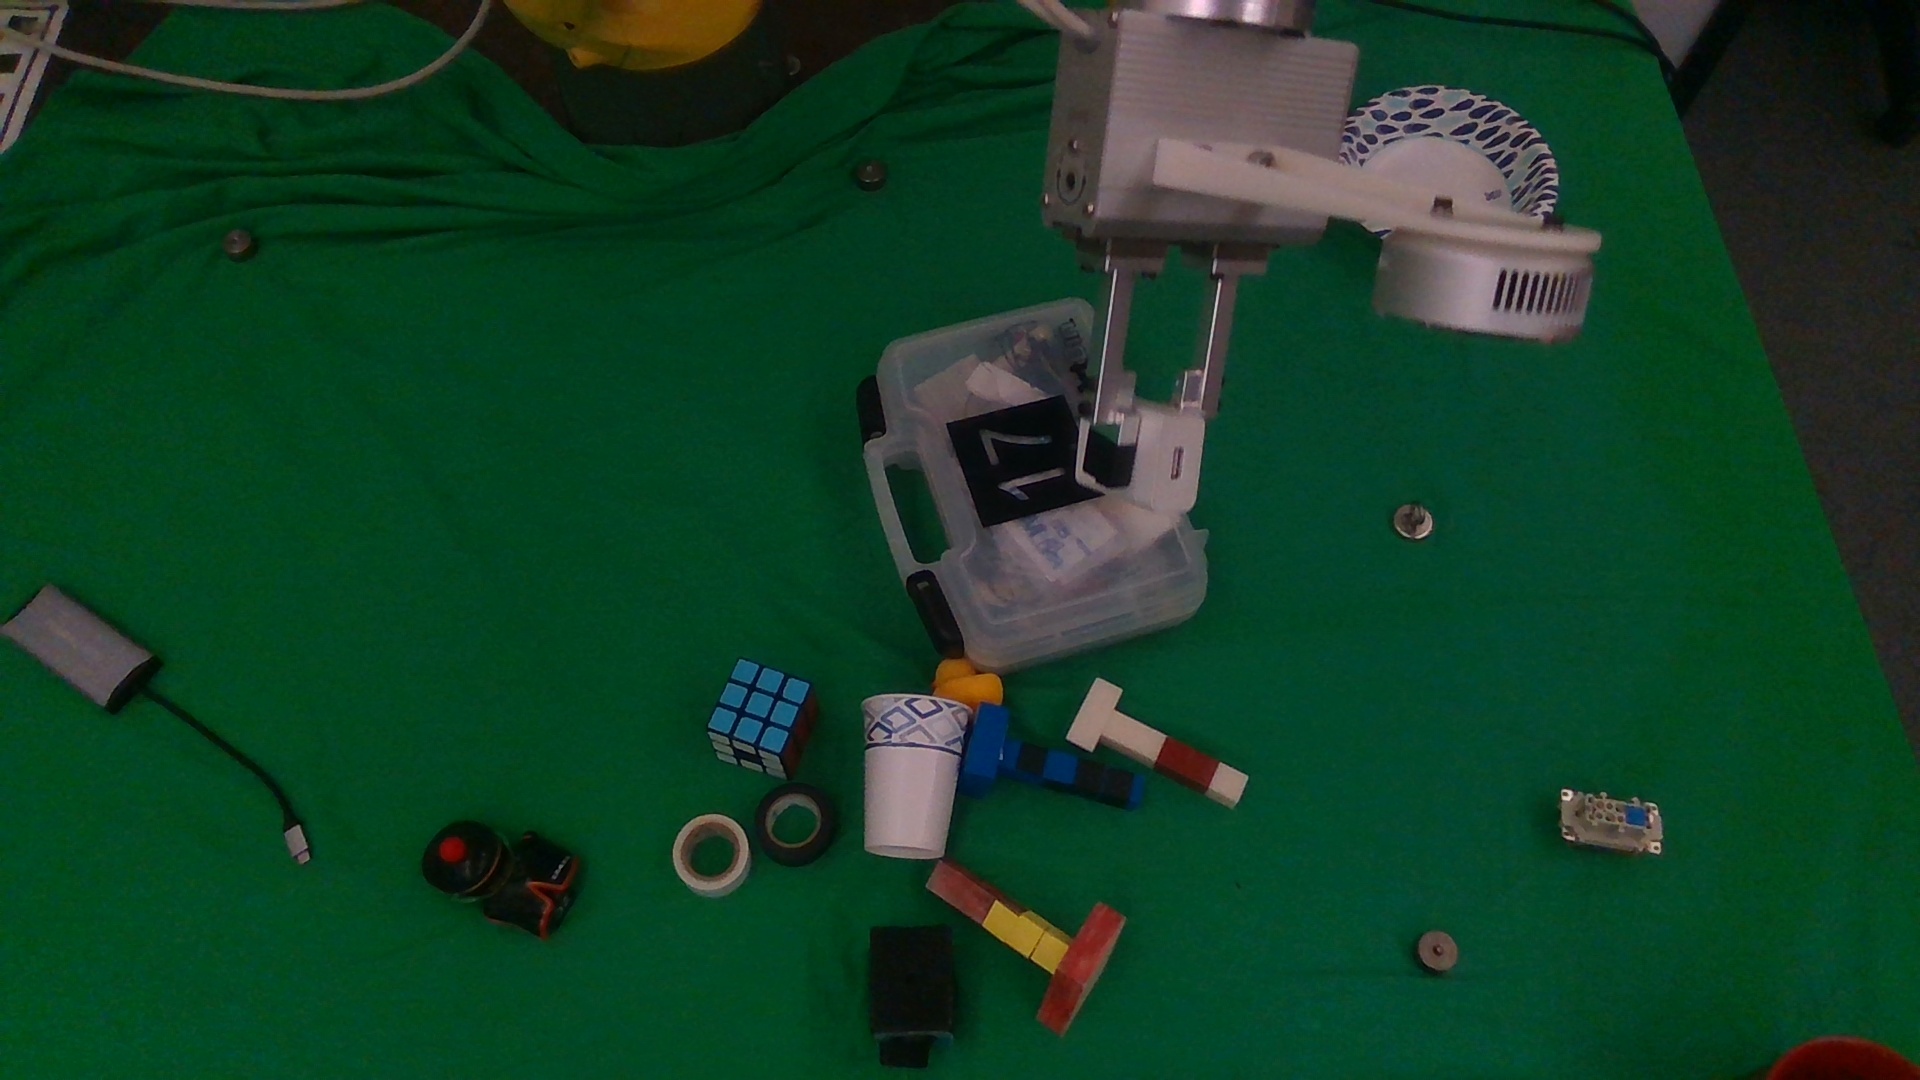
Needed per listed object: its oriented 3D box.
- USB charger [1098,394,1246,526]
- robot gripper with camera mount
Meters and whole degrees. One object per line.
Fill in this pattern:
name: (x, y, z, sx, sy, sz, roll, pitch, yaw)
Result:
USB charger: (0.081, -0.036, 0.566, 0.029, 0.044, 0.076, -3, 17, -29)
robot gripper with camera mount: (0.127, -0.065, 0.469, 0.118, 0.158, 0.194, -3, 25, -27)
